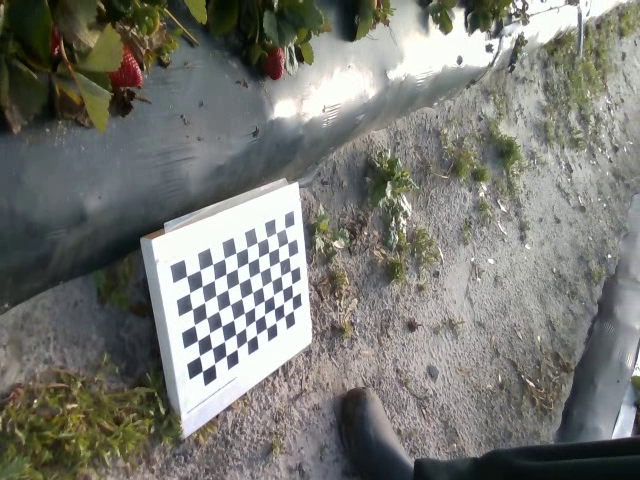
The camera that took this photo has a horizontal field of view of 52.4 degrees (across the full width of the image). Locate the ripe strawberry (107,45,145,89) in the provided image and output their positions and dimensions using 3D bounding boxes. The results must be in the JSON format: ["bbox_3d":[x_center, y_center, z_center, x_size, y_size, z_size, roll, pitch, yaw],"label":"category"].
[{"bbox_3d":[-0.133,-0.112,0.427,0.030,0.032,0.025,40,-30,-29],"label":"ripe strawberry"}]

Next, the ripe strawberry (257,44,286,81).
[{"bbox_3d":[-0.039,-0.157,0.569,0.021,0.036,0.029,-1,15,41],"label":"ripe strawberry"}]
